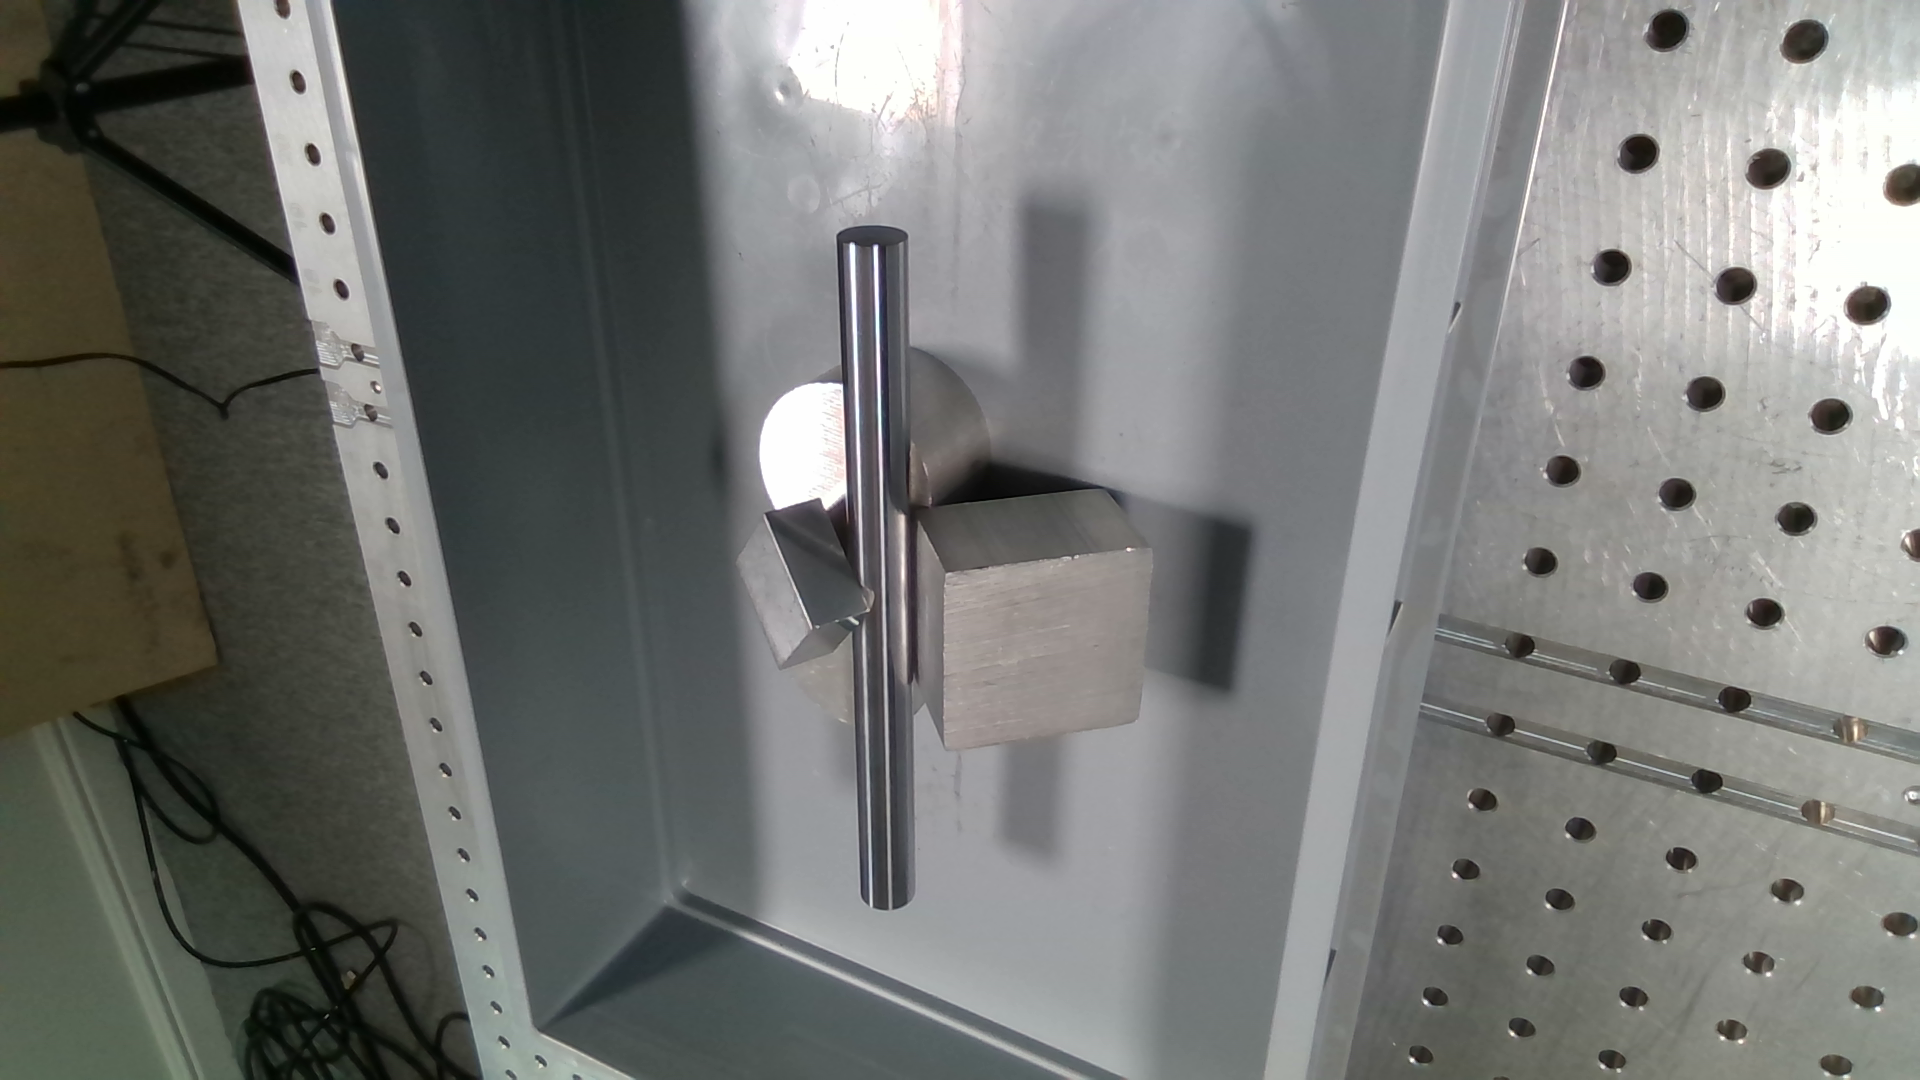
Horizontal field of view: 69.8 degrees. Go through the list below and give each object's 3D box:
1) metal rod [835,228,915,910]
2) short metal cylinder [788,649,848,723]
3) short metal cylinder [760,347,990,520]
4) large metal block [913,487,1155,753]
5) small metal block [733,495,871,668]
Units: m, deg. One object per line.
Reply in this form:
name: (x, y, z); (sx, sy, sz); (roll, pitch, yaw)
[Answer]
metal rod: (-0.032, 0.026, 0.548); (0.025, 0.025, 0.301); (15, 122, 24)
short metal cylinder: (-0.036, 0.035, 0.604); (0.080, 0.050, 0.080); (14, 122, 25)
short metal cylinder: (-0.035, -0.035, 0.565); (0.080, 0.050, 0.080); (14, 122, 25)
large metal block: (0.026, 0.030, 0.536); (0.080, 0.050, 0.080); (-7, 120, -13)
small metal block: (-0.064, 0.018, 0.549); (0.050, 0.025, 0.050); (65, 150, 14)
